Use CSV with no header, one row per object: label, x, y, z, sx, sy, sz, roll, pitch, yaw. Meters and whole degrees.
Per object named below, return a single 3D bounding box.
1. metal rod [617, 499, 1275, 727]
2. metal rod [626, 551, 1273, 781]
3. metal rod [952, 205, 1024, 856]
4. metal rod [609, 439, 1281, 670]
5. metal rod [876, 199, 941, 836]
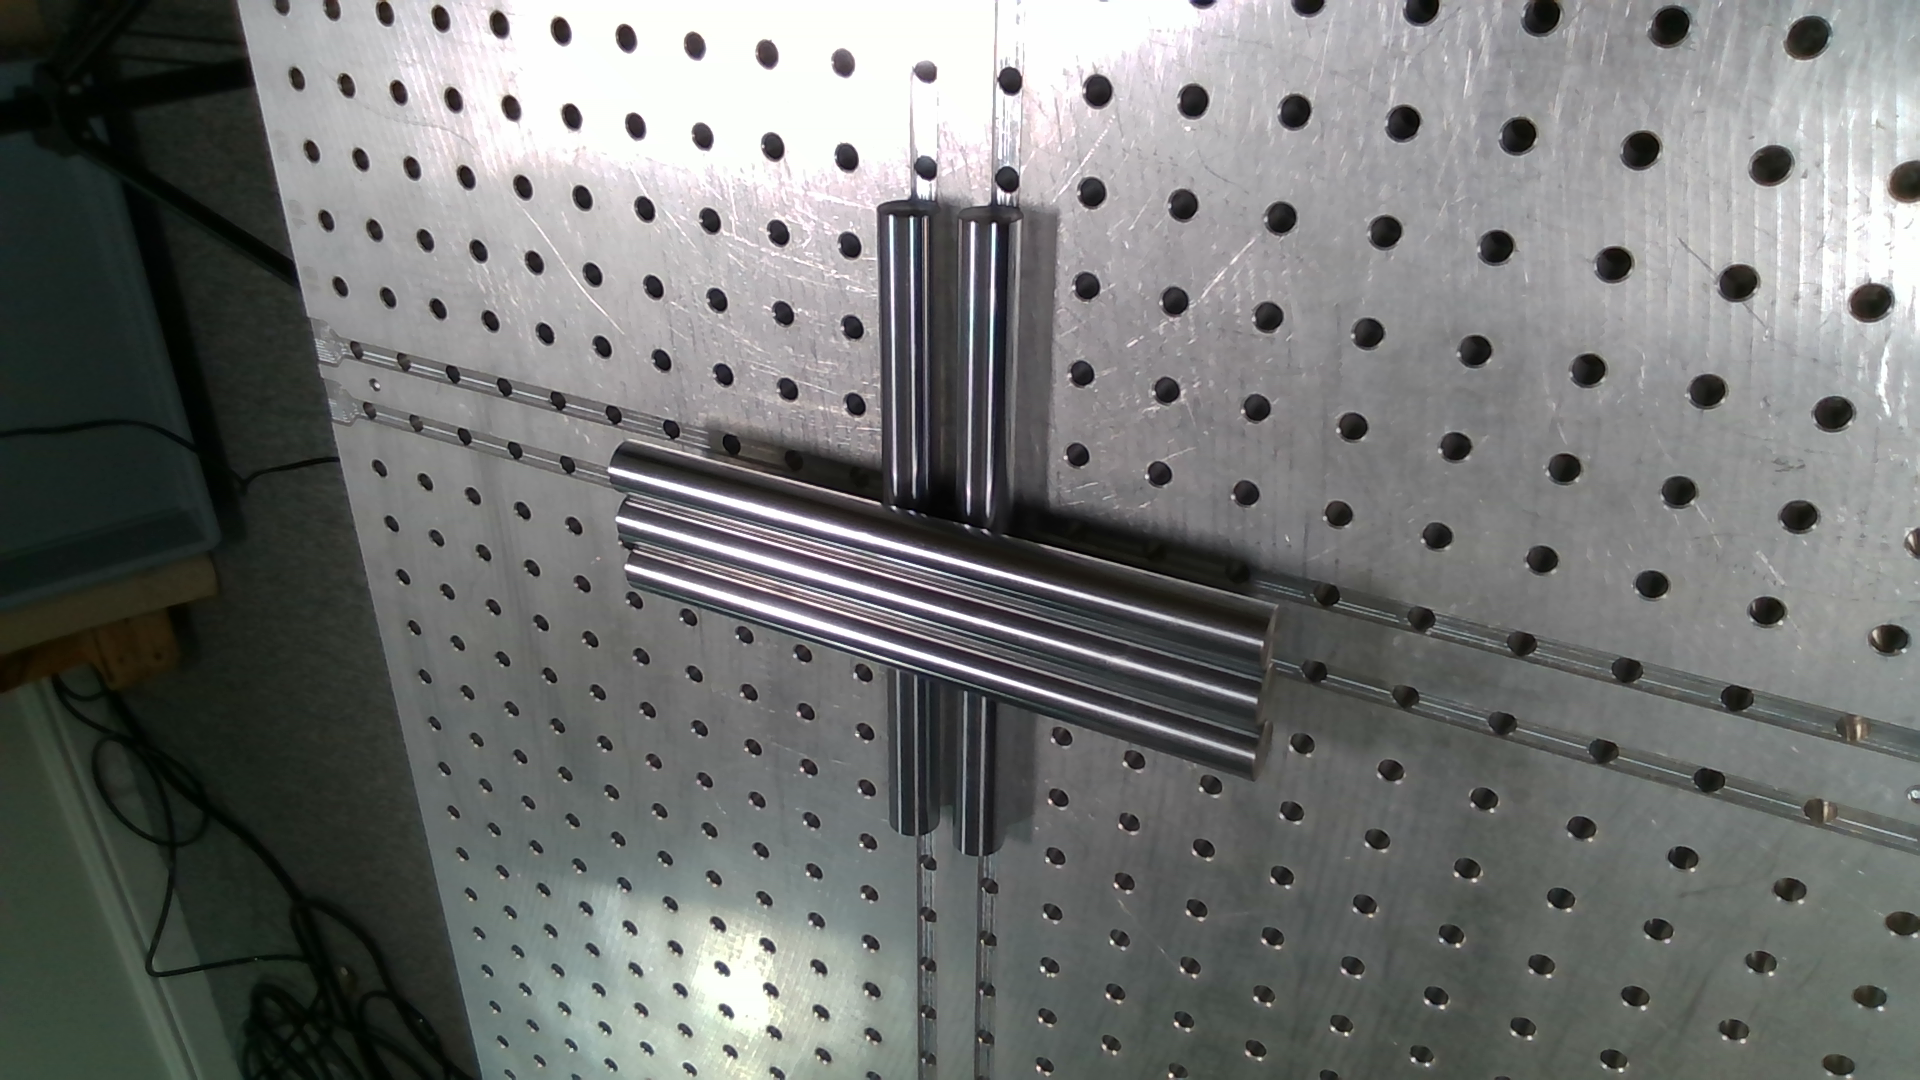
metal rod,-0.018,0.023,0.575,0.300,0.025,0.025,15,122,24
metal rod,-0.017,0.045,0.586,0.300,0.025,0.025,15,122,24
metal rod,0.010,0.011,0.583,0.025,0.025,0.301,15,122,24
metal rod,-0.019,0.001,0.563,0.300,0.025,0.025,15,122,24
metal rod,-0.021,0.005,0.599,0.025,0.025,0.301,15,122,24
